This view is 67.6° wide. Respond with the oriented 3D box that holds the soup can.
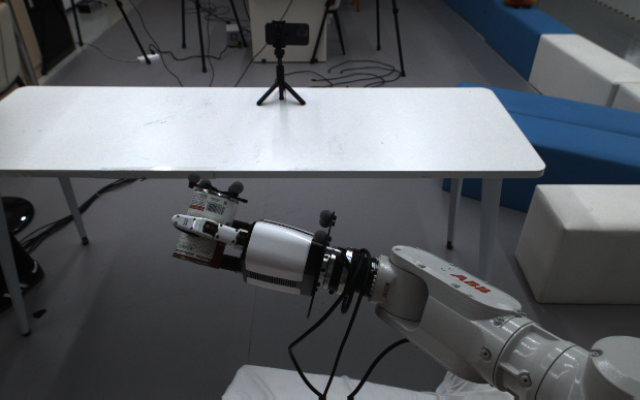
[{"bbox_3d":[-0.162,0.043,0.695,0.067,0.067,0.101,13,79,15],"label":"soup can"}]
